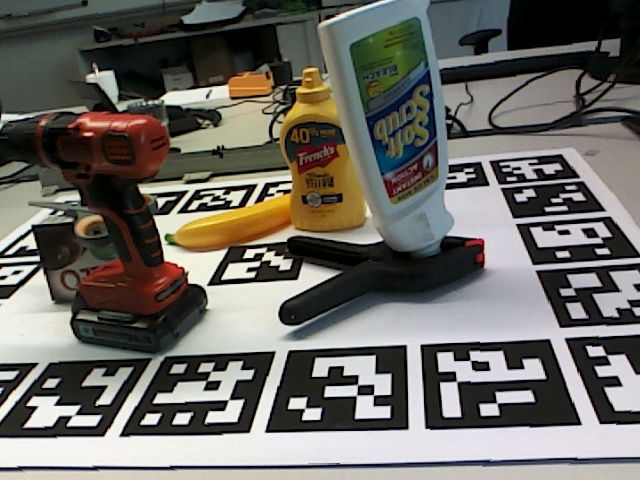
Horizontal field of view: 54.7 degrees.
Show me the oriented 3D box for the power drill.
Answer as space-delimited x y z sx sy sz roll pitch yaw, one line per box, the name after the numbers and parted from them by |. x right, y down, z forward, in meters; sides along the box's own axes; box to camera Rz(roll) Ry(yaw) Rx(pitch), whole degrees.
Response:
-0.212 -0.021 0.569 0.185 0.186 0.057 -1 18 23 | power drill

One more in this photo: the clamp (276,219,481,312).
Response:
0.060 0.012 0.621 0.203 0.036 0.166 -6 27 3 | clamp

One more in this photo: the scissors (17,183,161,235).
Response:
-0.267 -0.044 0.667 0.204 0.016 0.087 12 35 29 | scissors

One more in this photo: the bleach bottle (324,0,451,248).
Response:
0.082 -0.091 0.587 0.102 0.250 0.068 -18 21 -4 | bleach bottle

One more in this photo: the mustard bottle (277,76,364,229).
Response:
-0.003 -0.101 0.750 0.096 0.191 0.058 3 26 22 | mustard bottle

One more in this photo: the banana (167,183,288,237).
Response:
-0.099 -0.041 0.807 0.196 0.039 0.074 -22 11 -26 | banana

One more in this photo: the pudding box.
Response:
-0.250 0.016 0.685 0.114 0.090 0.038 -2 18 13 | pudding box
